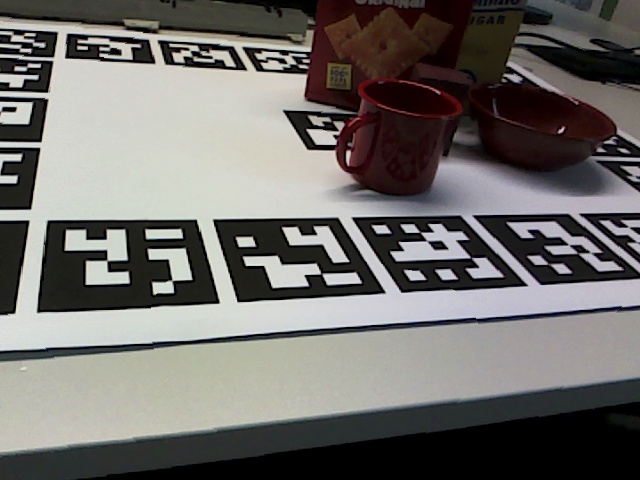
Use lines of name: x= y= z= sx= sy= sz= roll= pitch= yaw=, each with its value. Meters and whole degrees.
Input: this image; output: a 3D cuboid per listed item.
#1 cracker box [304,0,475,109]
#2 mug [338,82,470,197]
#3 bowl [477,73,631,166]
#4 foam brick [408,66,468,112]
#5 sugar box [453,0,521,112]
cracker box: x=0.082 y=-0.251 z=0.687 sx=0.164 sy=0.213 sz=0.072 roll=15 pitch=31 yaw=5
mug: x=0.069 y=-0.088 z=0.547 sx=0.116 sy=0.081 sz=0.094 roll=-10 pitch=30 yaw=-26
bowl: x=0.241 y=-0.125 z=0.666 sx=0.161 sy=0.055 sz=0.162 roll=8 pitch=34 yaw=-6
foam brick: x=0.116 y=-0.135 z=0.652 sx=0.052 sy=0.078 sz=0.051 roll=6 pitch=32 yaw=-6
sugar box: x=0.179 y=-0.248 z=0.743 sx=0.093 sy=0.176 sz=0.045 roll=10 pitch=33 yaw=-2
